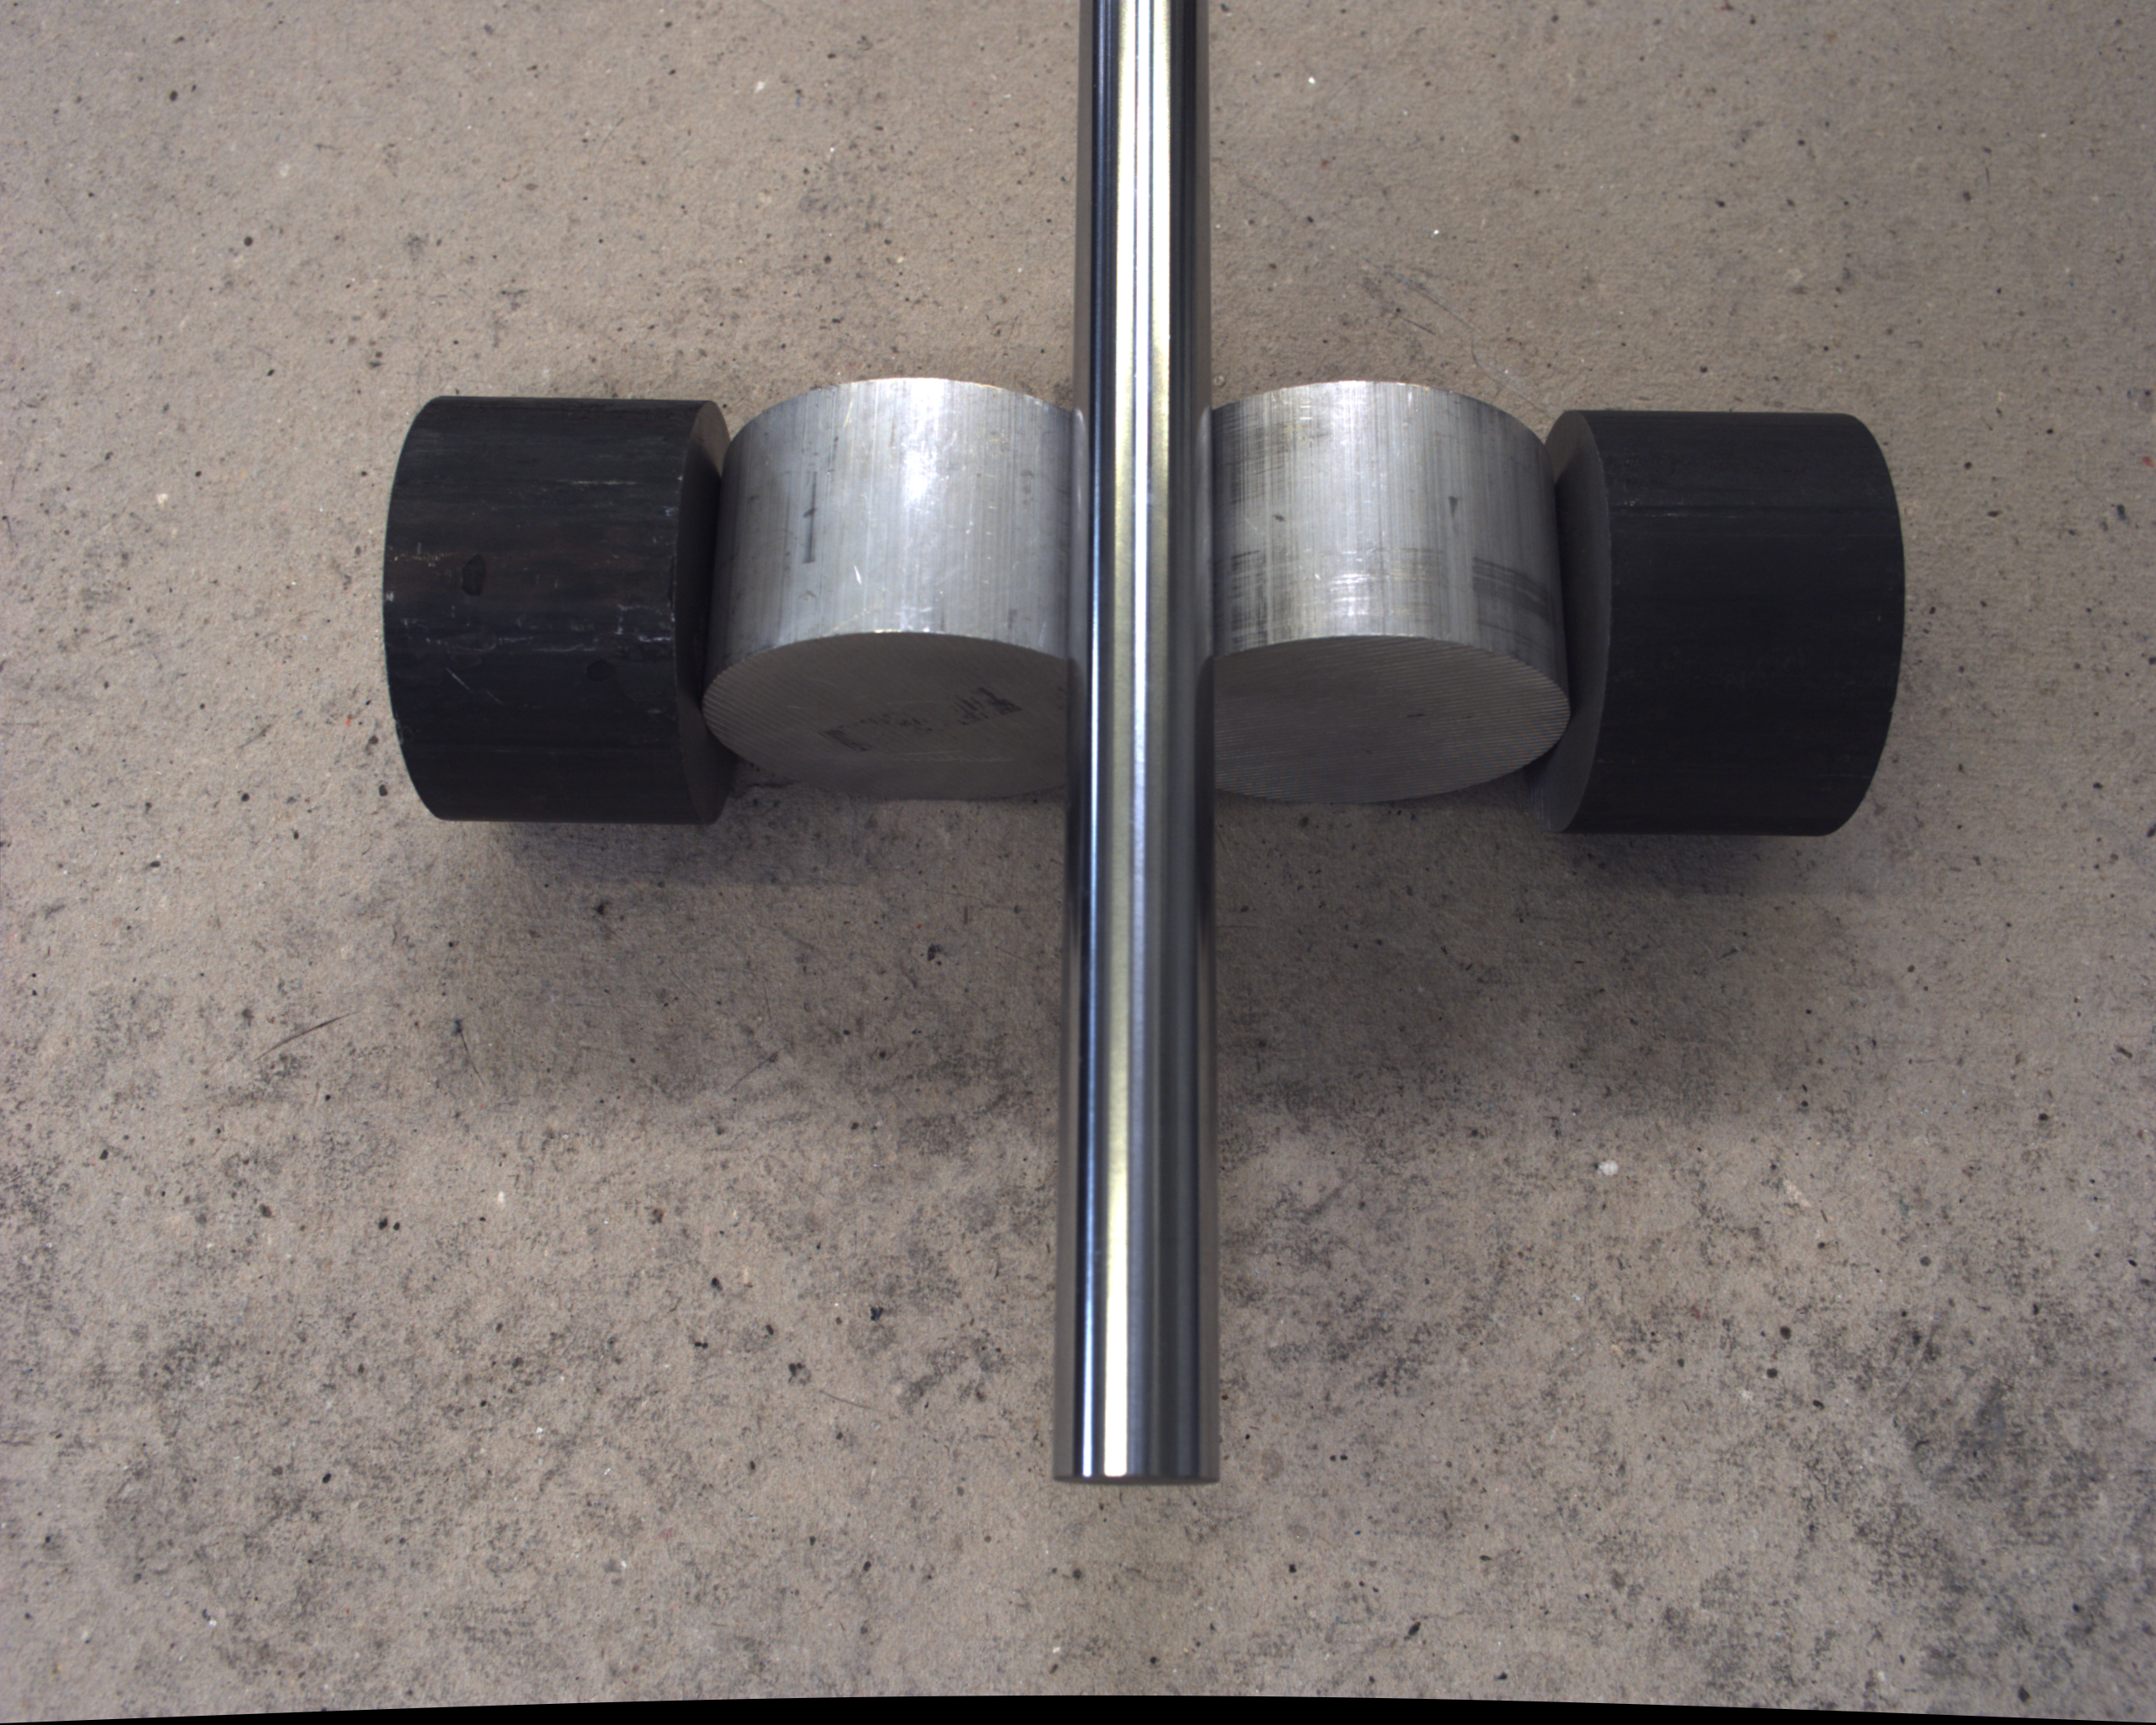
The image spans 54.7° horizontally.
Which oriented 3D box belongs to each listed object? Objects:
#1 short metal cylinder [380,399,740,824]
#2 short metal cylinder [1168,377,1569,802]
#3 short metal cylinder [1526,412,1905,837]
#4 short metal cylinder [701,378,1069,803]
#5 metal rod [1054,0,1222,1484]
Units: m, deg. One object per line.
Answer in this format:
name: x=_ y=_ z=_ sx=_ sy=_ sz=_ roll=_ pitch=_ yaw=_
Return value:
short metal cylinder: x=-0.094 y=-0.047 z=0.397 sx=0.050 sy=0.080 sz=0.080 roll=1 pitch=70 yaw=0
short metal cylinder: x=0.051 y=-0.049 z=0.398 sx=0.080 sy=0.080 sz=0.050 roll=1 pitch=70 yaw=0
short metal cylinder: x=0.117 y=-0.045 z=0.398 sx=0.050 sy=0.080 sz=0.080 roll=1 pitch=70 yaw=0
short metal cylinder: x=-0.029 y=-0.049 z=0.398 sx=0.080 sy=0.080 sz=0.050 roll=1 pitch=70 yaw=0
metal rod: x=0.011 y=-0.048 z=0.362 sx=0.025 sy=0.025 sz=0.299 roll=1 pitch=70 yaw=0
